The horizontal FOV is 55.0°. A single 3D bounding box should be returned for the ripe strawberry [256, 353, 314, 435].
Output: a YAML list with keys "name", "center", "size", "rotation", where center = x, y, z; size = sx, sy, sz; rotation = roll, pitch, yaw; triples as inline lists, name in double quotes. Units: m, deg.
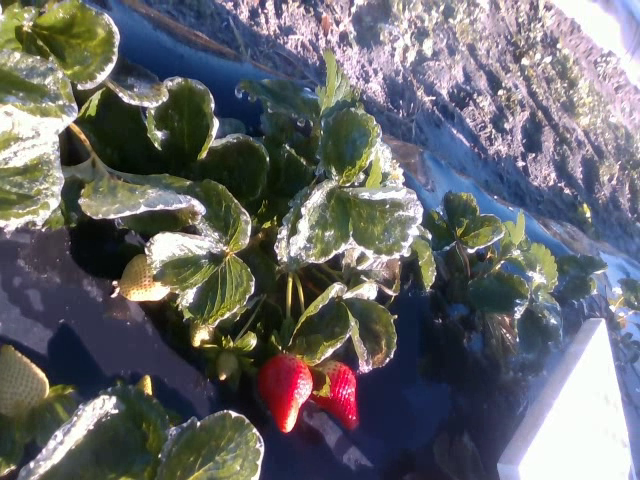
- name: "ripe strawberry"
  center: [-0.023, 0.126, 0.486]
  size: [0.040, 0.069, 0.052]
  rotation: [-9, -34, 33]

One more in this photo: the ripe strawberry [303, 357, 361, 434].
- name: "ripe strawberry"
  center: [0.021, 0.131, 0.518]
  size: [0.040, 0.059, 0.044]
  rotation: [-13, 10, 44]
